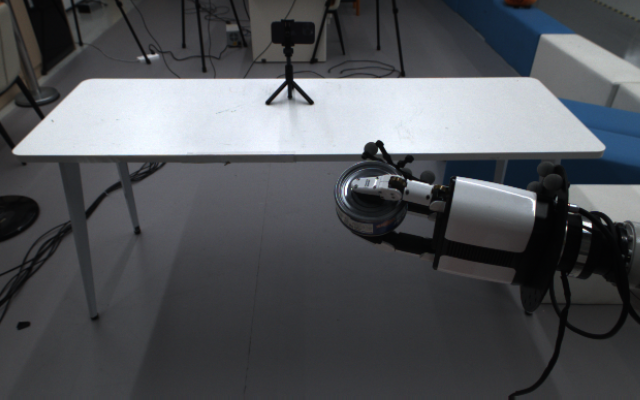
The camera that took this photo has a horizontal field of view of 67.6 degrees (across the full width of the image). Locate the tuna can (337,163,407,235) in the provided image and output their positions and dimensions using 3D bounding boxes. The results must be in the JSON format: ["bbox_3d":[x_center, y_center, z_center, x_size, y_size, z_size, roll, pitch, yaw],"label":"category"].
[{"bbox_3d":[0.064,0.002,0.559,0.085,0.034,0.085,-4,58,6],"label":"tuna can"}]
